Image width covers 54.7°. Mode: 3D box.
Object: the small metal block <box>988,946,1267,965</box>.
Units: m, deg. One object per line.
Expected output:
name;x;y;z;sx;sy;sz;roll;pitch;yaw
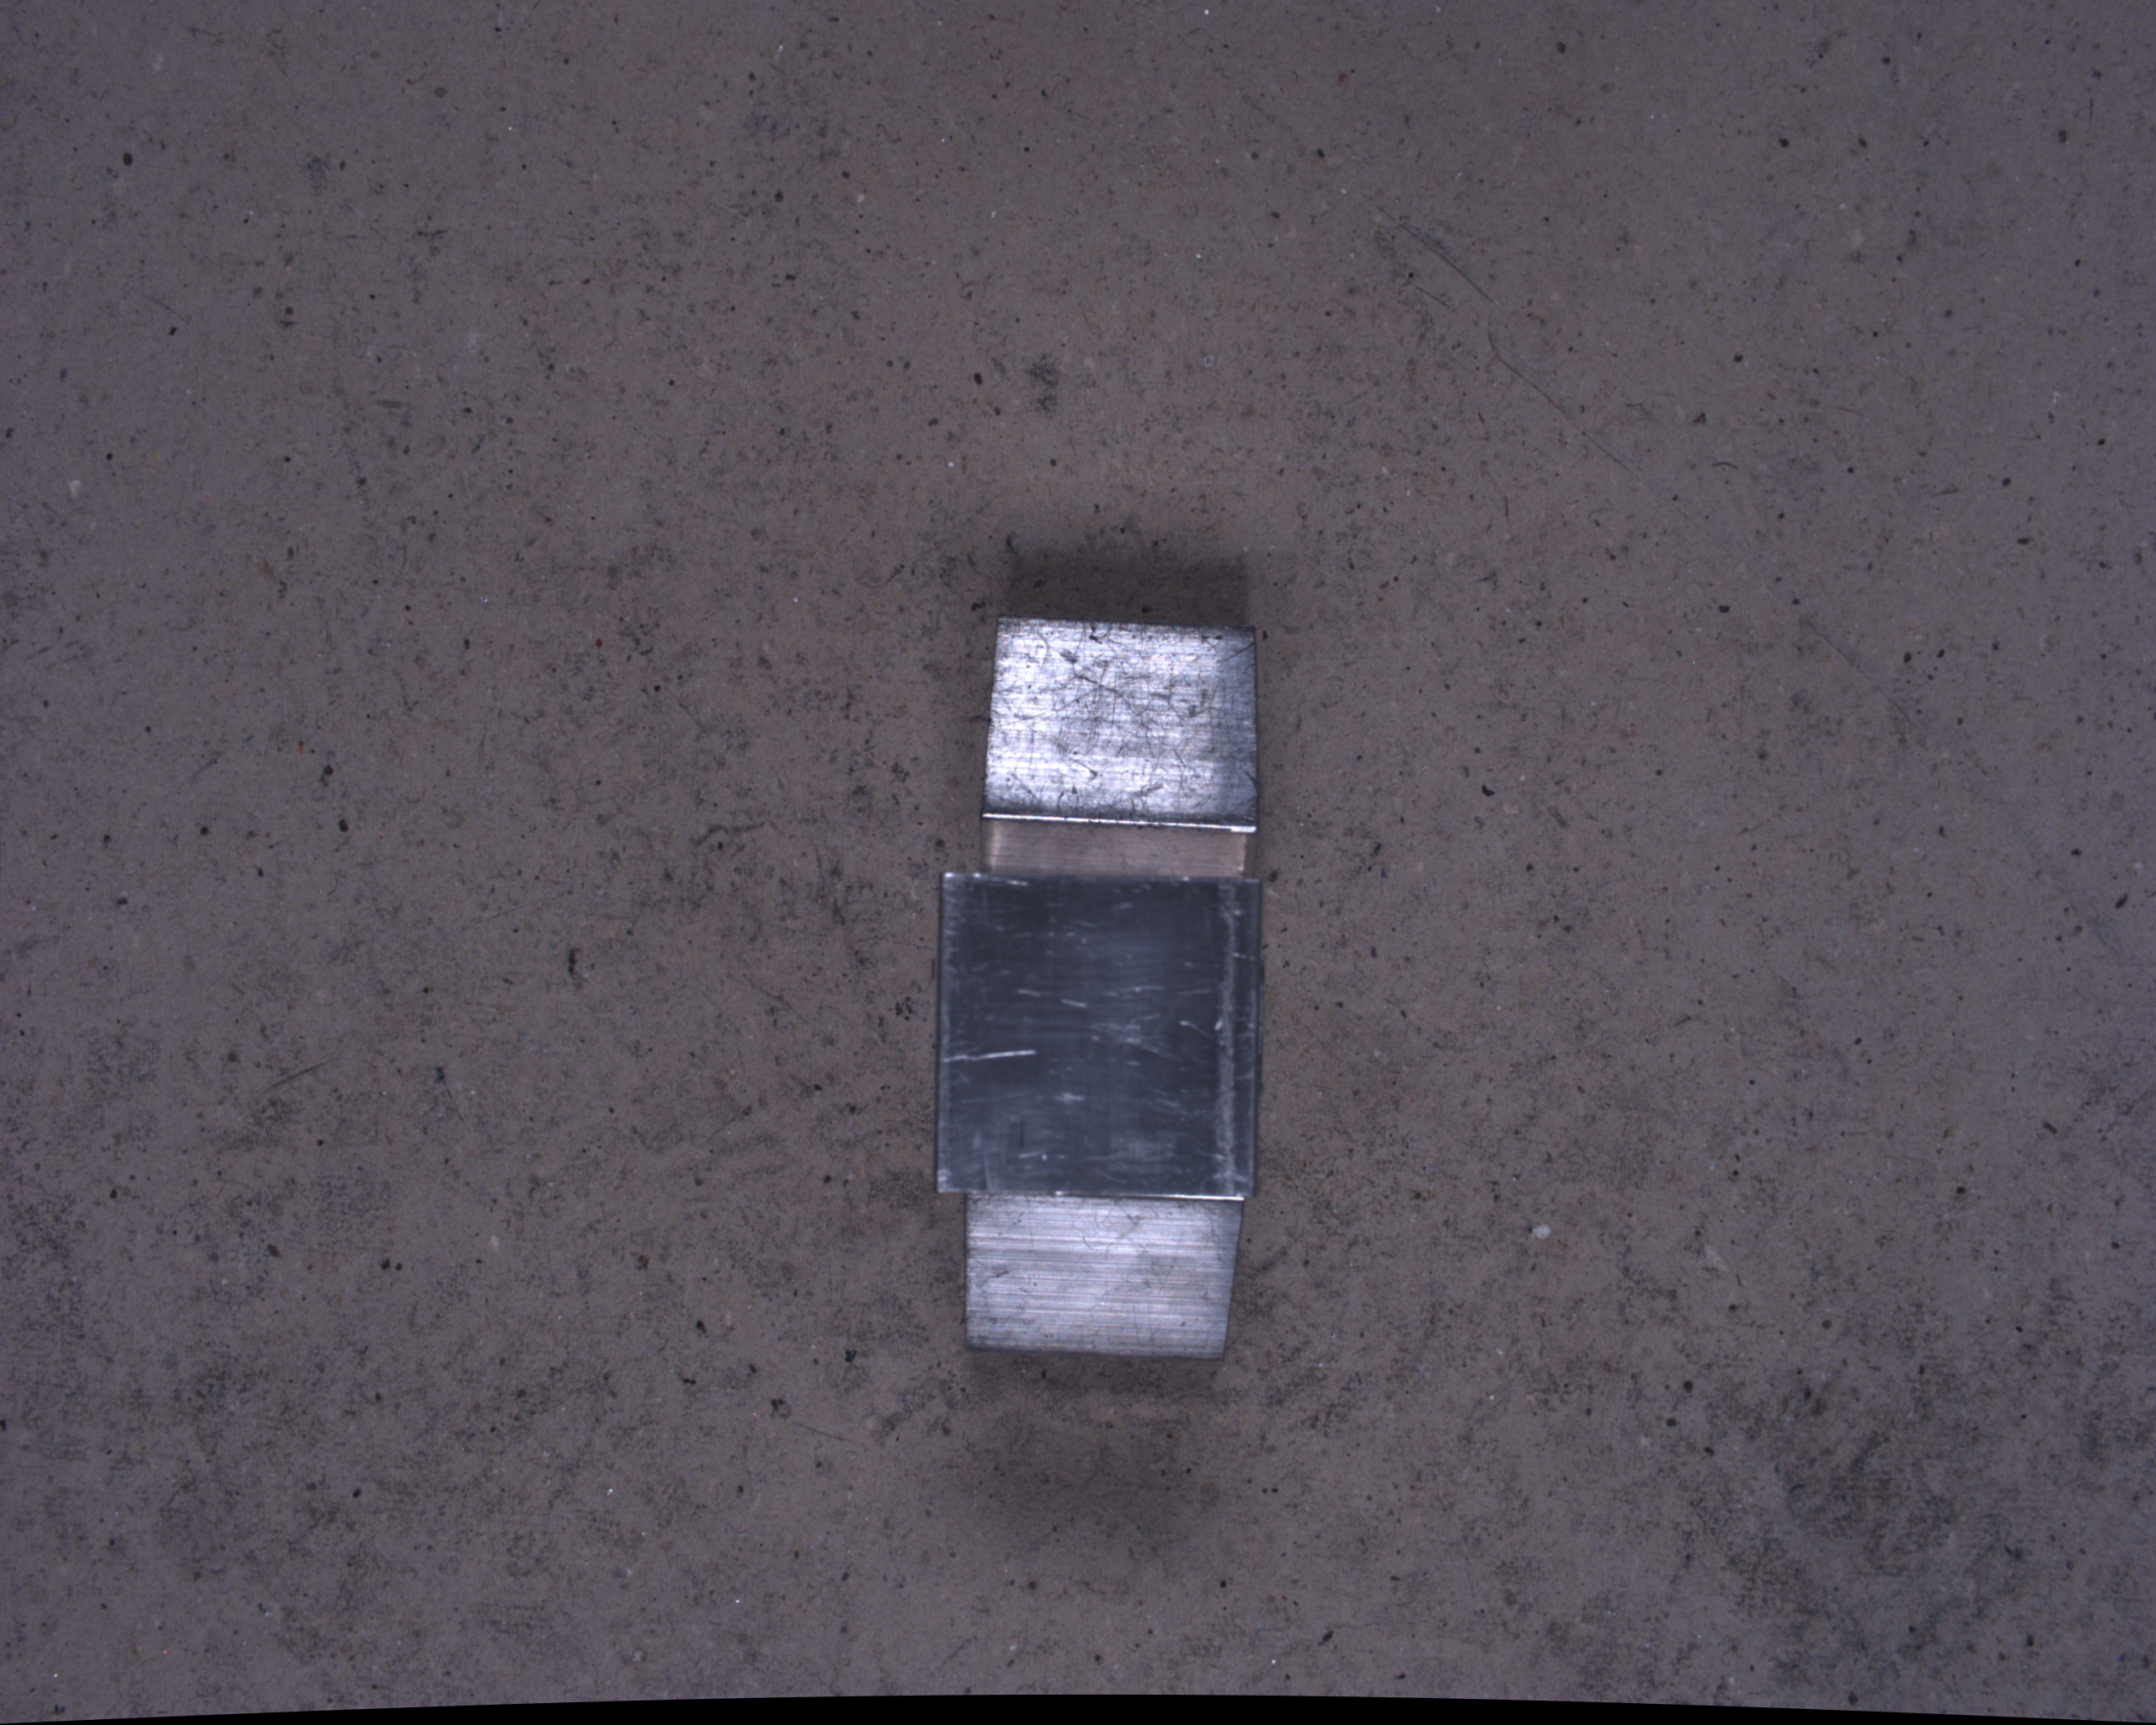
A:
small metal block;0.006;0.027;0.373;0.050;0.050;0.025;2;90;-1

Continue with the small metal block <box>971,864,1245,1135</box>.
small metal block;0.006;0.026;0.412;0.050;0.025;0.050;2;90;-1

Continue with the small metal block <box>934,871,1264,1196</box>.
small metal block;0.003;0.027;0.336;0.050;0.025;0.050;1;90;-1

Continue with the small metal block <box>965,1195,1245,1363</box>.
small metal block;0.004;0.069;0.399;0.050;0.025;0.050;2;131;-1

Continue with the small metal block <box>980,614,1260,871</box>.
small metal block;0.008;-0.020;0.399;0.050;0.025;0.050;3;54;0
